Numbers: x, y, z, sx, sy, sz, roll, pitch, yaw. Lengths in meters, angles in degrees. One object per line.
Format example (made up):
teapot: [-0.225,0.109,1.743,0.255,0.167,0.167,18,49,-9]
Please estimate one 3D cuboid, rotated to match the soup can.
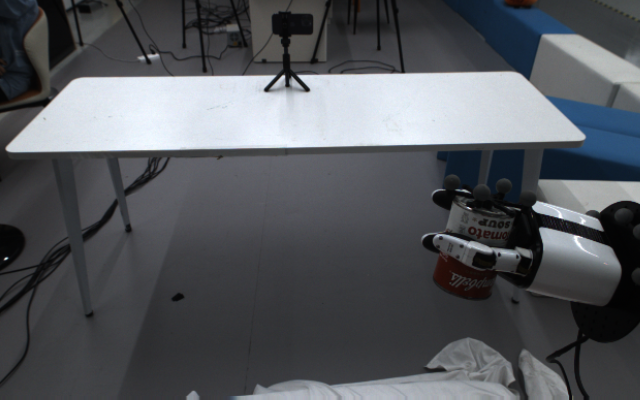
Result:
soup can: [0.173,0.050,0.542,0.067,0.101,0.067,9,19,-3]
